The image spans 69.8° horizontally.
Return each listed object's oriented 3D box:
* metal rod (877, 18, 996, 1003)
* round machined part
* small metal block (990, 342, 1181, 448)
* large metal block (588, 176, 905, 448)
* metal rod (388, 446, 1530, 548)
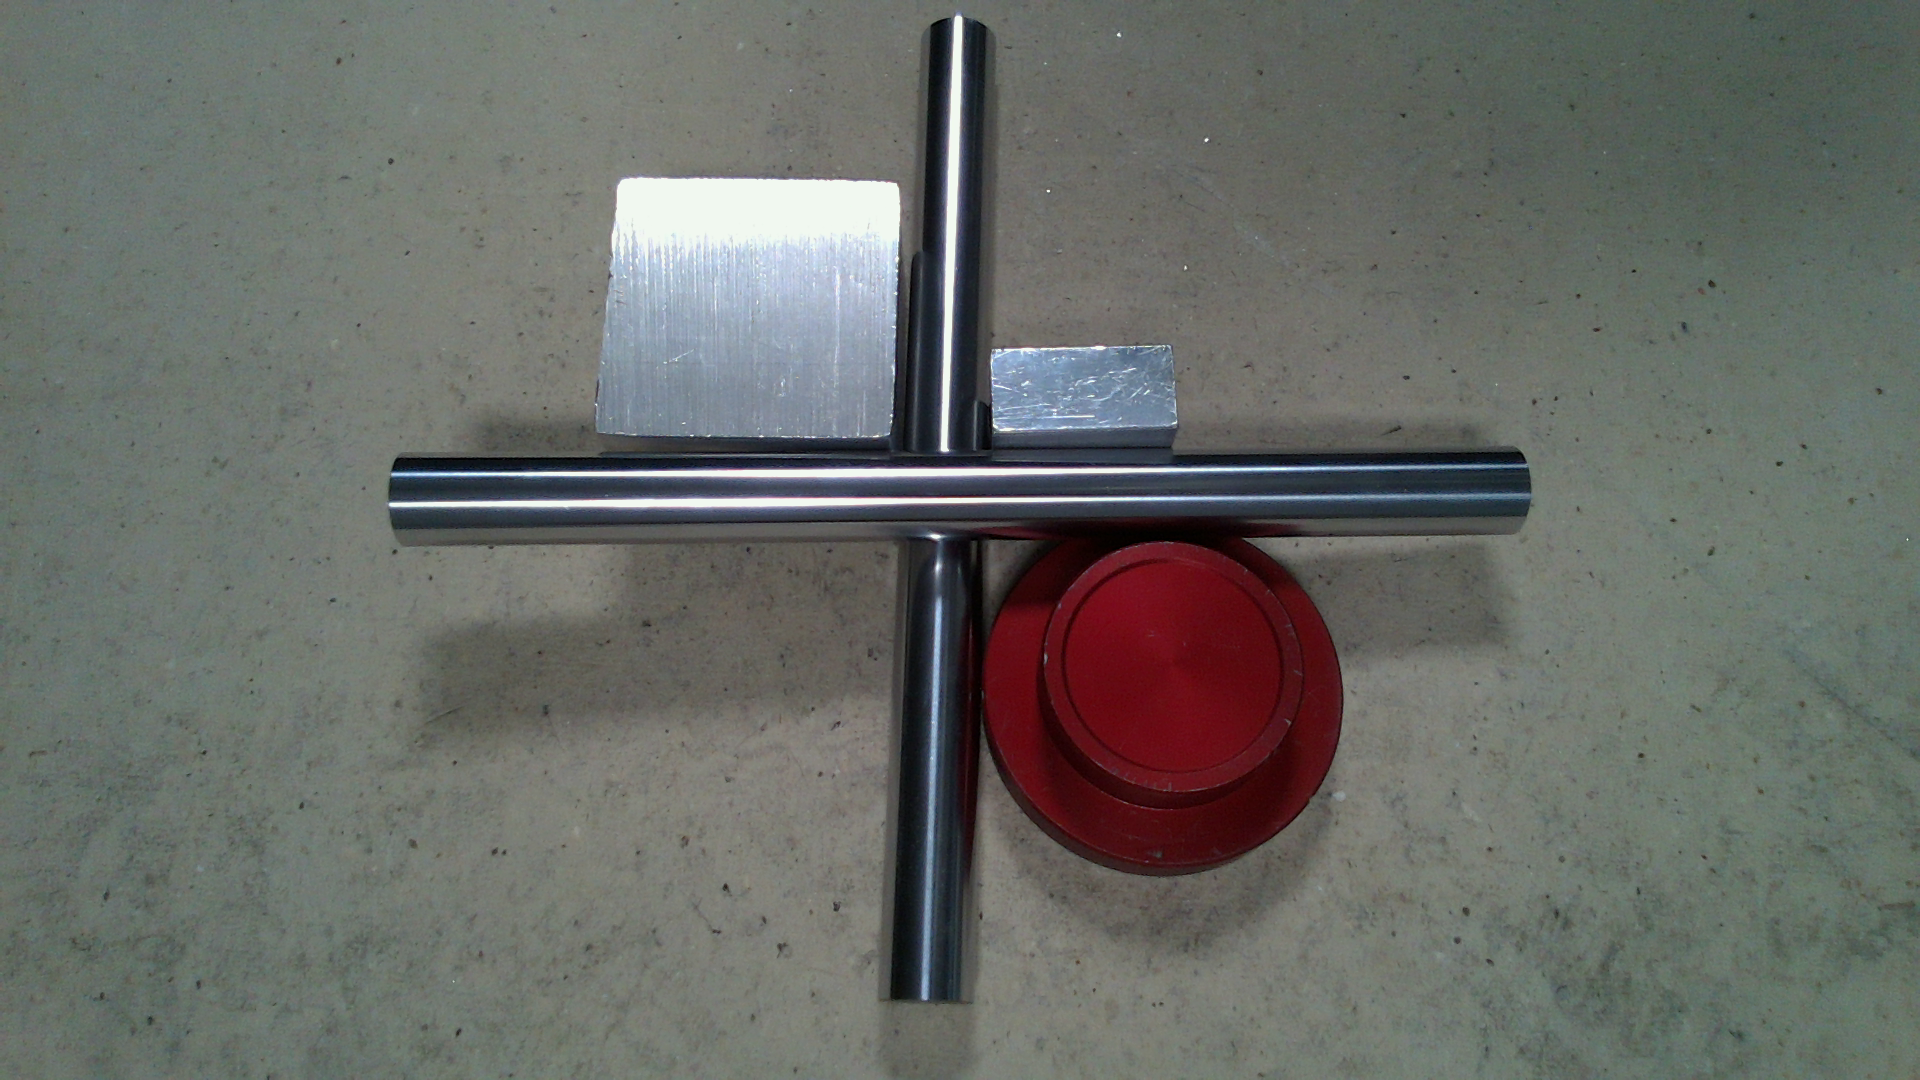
[{"bbox_3d":[-0.004,-0.023,0.403,0.025,0.025,0.300,1,70,1],"label":"metal rod"},{"bbox_3d":[0.055,0.039,0.371,0.098,0.042,0.098,0,70,0],"label":"round machined part"},{"bbox_3d":[0.034,-0.033,0.394,0.050,0.050,0.025,-1,70,0],"label":"small metal block"},{"bbox_3d":[-0.058,-0.057,0.401,0.080,0.050,0.080,1,70,0],"label":"large metal block"},{"bbox_3d":[0.004,-0.012,0.373,0.300,0.025,0.025,-1,70,-5],"label":"metal rod"}]
